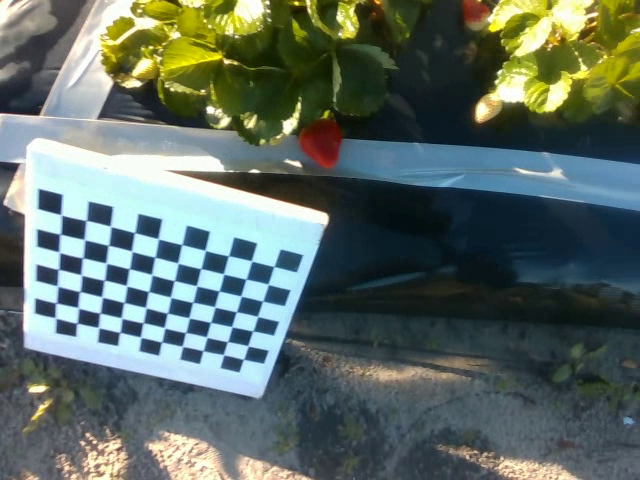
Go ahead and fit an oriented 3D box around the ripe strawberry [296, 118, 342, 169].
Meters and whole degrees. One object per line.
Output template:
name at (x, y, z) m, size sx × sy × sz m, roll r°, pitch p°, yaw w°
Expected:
ripe strawberry at (0.002, -0.092, 0.596) m, size 0.048 × 0.064 × 0.045 m, roll 15°, pitch -46°, yaw -44°
